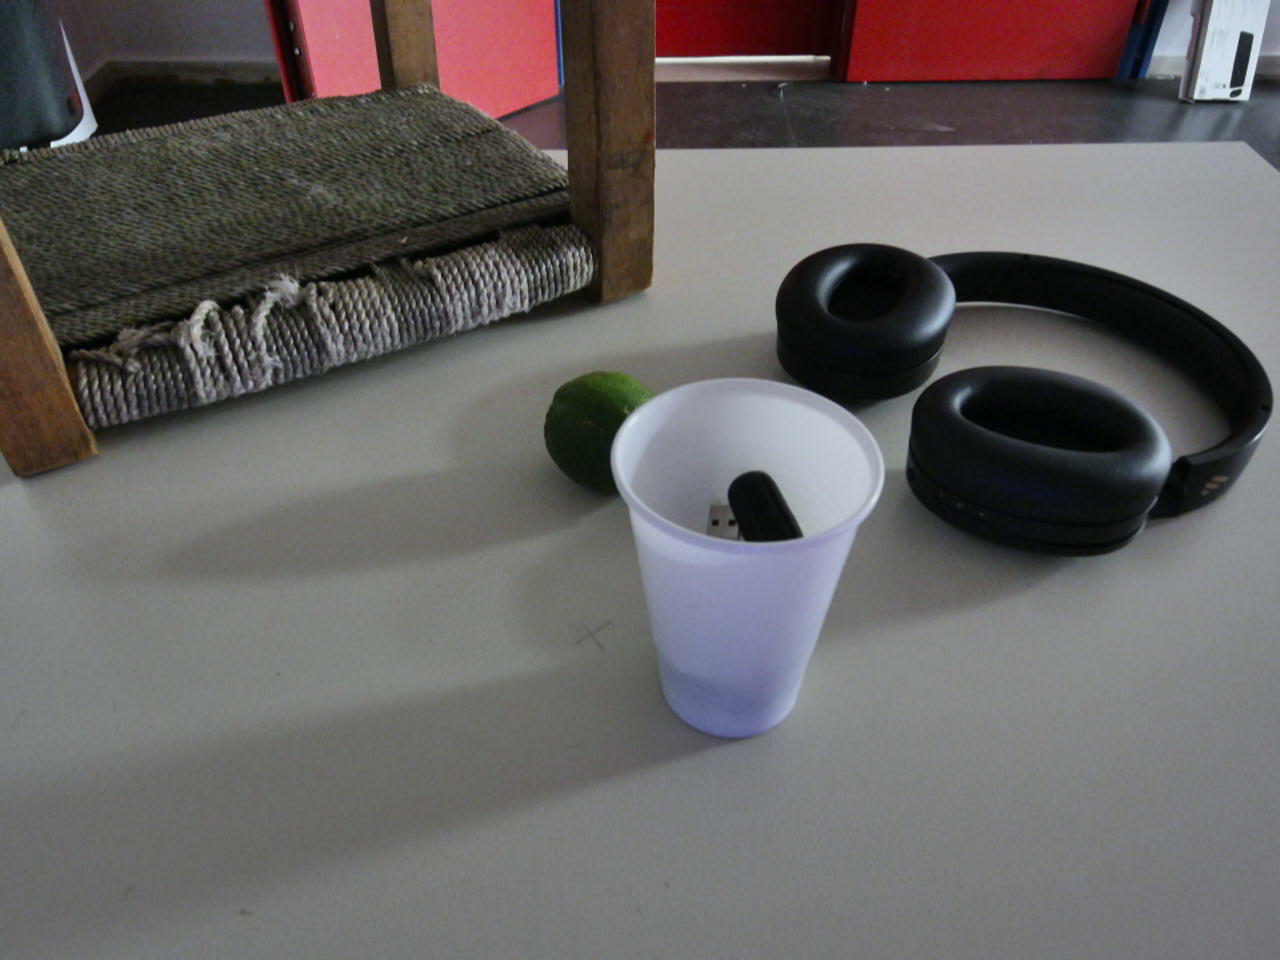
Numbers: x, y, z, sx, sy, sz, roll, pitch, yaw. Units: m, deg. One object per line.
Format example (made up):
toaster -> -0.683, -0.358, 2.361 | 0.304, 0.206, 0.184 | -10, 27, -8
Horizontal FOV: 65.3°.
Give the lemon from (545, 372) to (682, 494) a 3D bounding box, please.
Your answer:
lemon -> -0.012, -0.021, 0.430 | 0.057, 0.051, 0.054 | -3, 39, -3
